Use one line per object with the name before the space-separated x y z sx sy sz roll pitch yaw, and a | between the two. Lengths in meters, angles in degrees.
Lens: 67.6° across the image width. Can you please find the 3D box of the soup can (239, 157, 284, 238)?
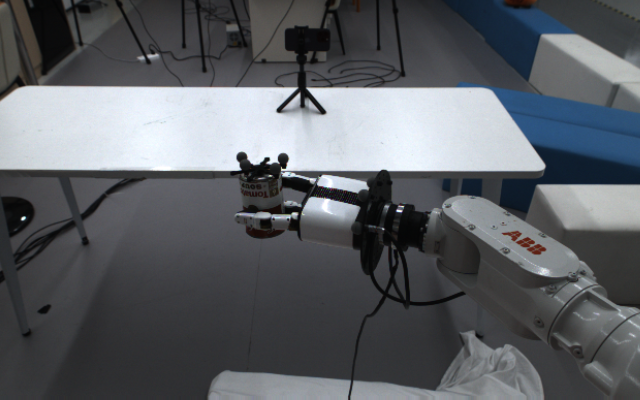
soup can | -0.090 0.003 0.773 0.067 0.101 0.067 -3 26 2
